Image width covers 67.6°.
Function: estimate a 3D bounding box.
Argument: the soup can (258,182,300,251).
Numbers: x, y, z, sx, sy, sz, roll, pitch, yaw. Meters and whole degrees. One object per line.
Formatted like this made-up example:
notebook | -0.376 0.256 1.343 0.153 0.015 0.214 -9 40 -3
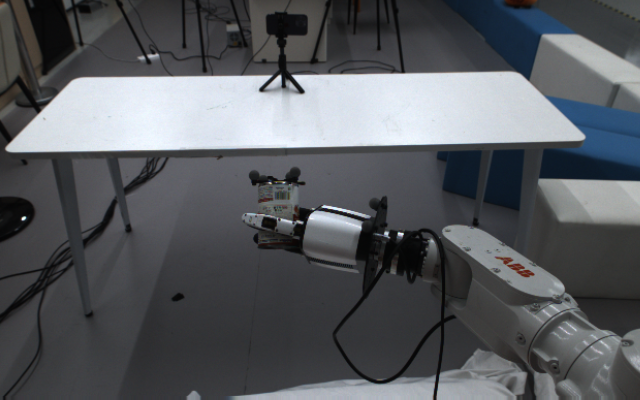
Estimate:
soup can | -0.066 0.027 0.771 0.067 0.101 0.067 -1 -9 0
